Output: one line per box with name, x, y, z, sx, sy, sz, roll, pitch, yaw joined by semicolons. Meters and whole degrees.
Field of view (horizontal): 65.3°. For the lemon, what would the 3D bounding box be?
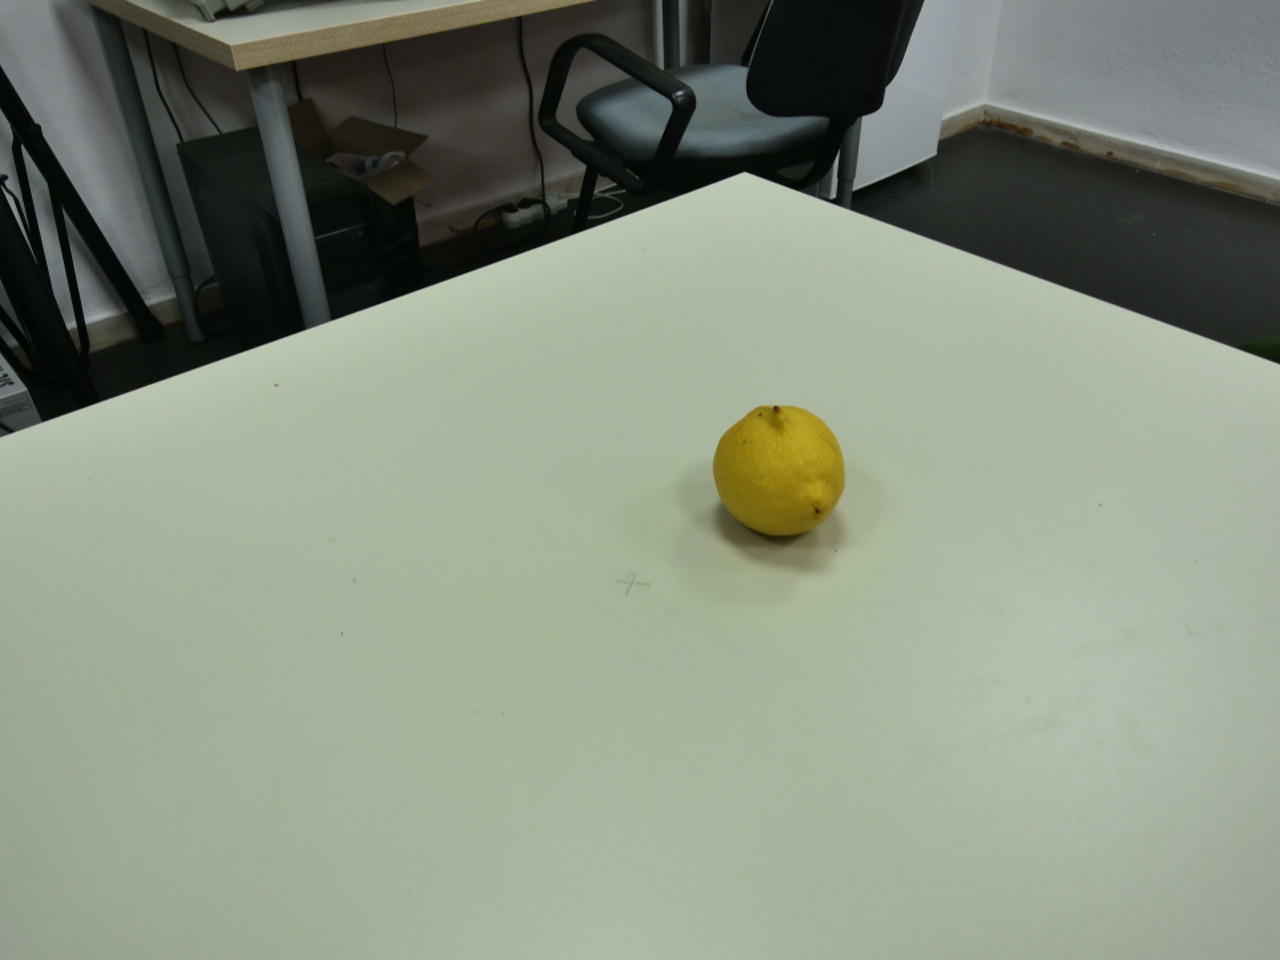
lemon;0.073;-0.008;0.527;0.070;0.071;0.071;10;37;13
